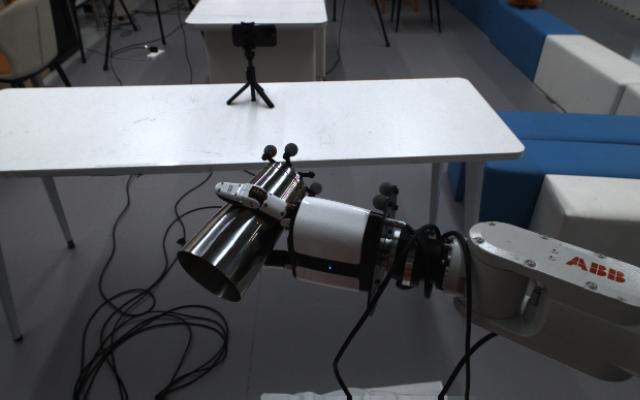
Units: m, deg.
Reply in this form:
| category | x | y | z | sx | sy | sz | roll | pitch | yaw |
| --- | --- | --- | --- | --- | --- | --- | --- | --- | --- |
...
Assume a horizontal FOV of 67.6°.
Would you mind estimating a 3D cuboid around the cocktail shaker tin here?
| category | x | y | z | sx | sy | sz | roll | pitch | yaw |
| --- | --- | --- | --- | --- | --- | --- | --- | --- | --- |
| cocktail shaker tin | -0.086 | 0.028 | 0.605 | 0.093 | 0.093 | 0.170 | 19 | 54 | 22 |
